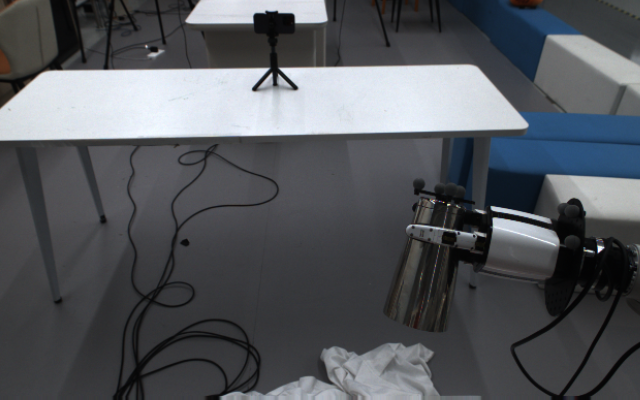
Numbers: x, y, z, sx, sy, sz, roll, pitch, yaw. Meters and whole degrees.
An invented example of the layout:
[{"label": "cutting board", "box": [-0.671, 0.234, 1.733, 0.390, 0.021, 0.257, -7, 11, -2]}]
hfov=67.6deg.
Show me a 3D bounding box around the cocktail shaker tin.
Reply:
[{"label": "cocktail shaker tin", "box": [0.154, 0.083, 0.680, 0.093, 0.170, 0.093, 12, 3, -1]}]
